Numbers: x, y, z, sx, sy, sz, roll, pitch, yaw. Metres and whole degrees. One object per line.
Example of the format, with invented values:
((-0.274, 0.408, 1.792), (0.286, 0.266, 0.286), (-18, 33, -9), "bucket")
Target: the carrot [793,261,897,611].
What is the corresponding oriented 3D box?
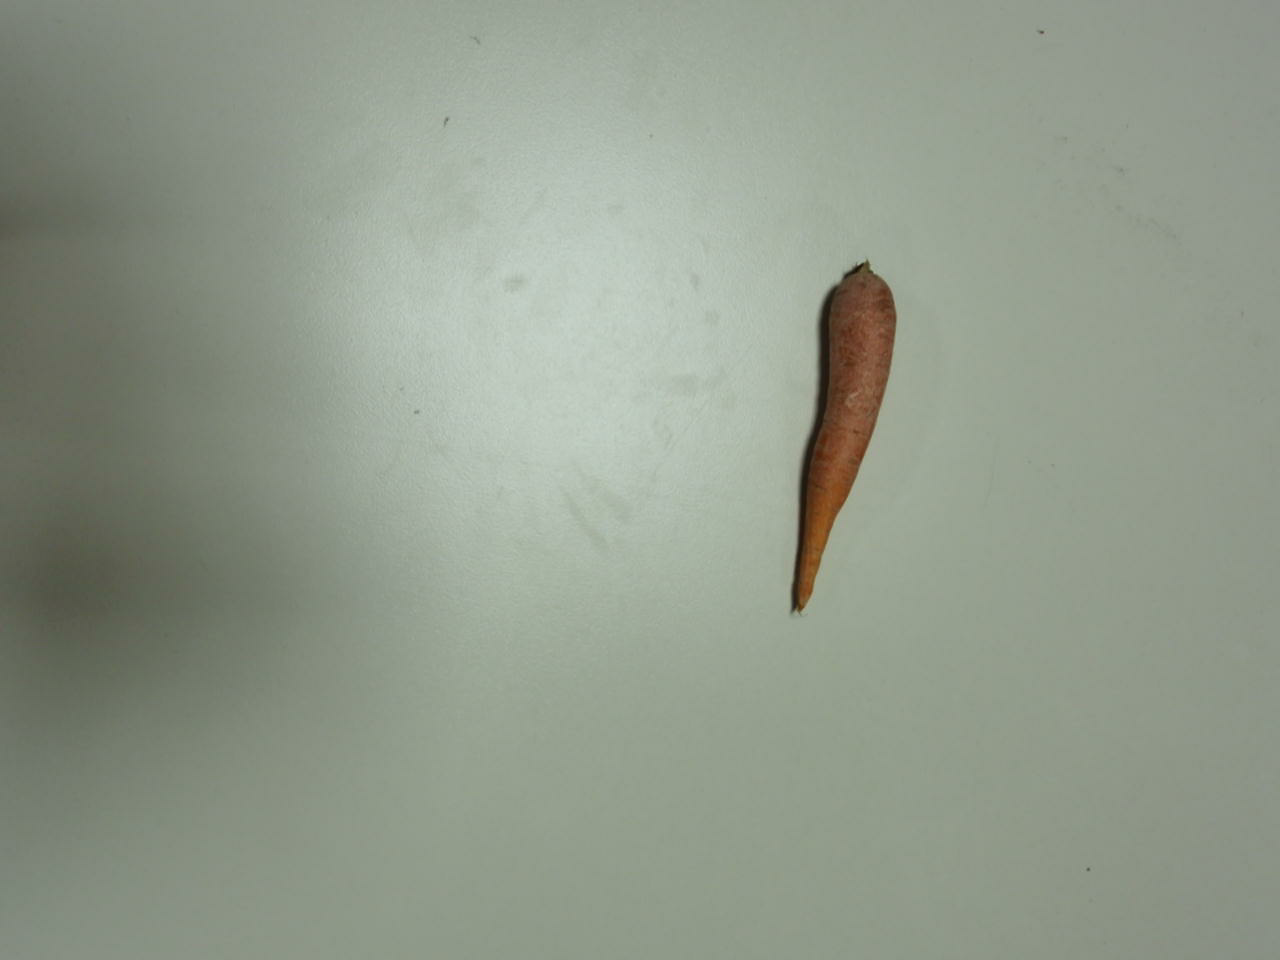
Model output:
((0.094, -0.020, 0.461), (0.031, 0.029, 0.163), (9, 88, -12), "carrot")
